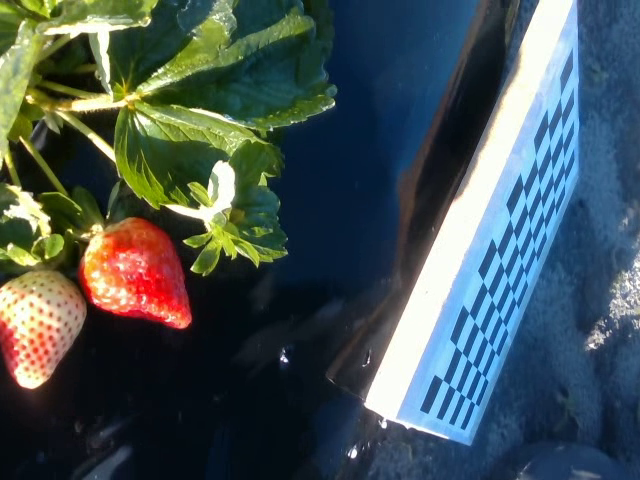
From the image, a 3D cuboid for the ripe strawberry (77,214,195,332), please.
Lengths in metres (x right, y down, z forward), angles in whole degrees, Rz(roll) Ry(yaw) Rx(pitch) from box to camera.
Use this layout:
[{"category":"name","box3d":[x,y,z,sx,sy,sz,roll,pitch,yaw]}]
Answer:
[{"category":"ripe strawberry","box3d":[-0.062,0.017,0.232,0.056,0.040,0.037,49,20,20]}]
